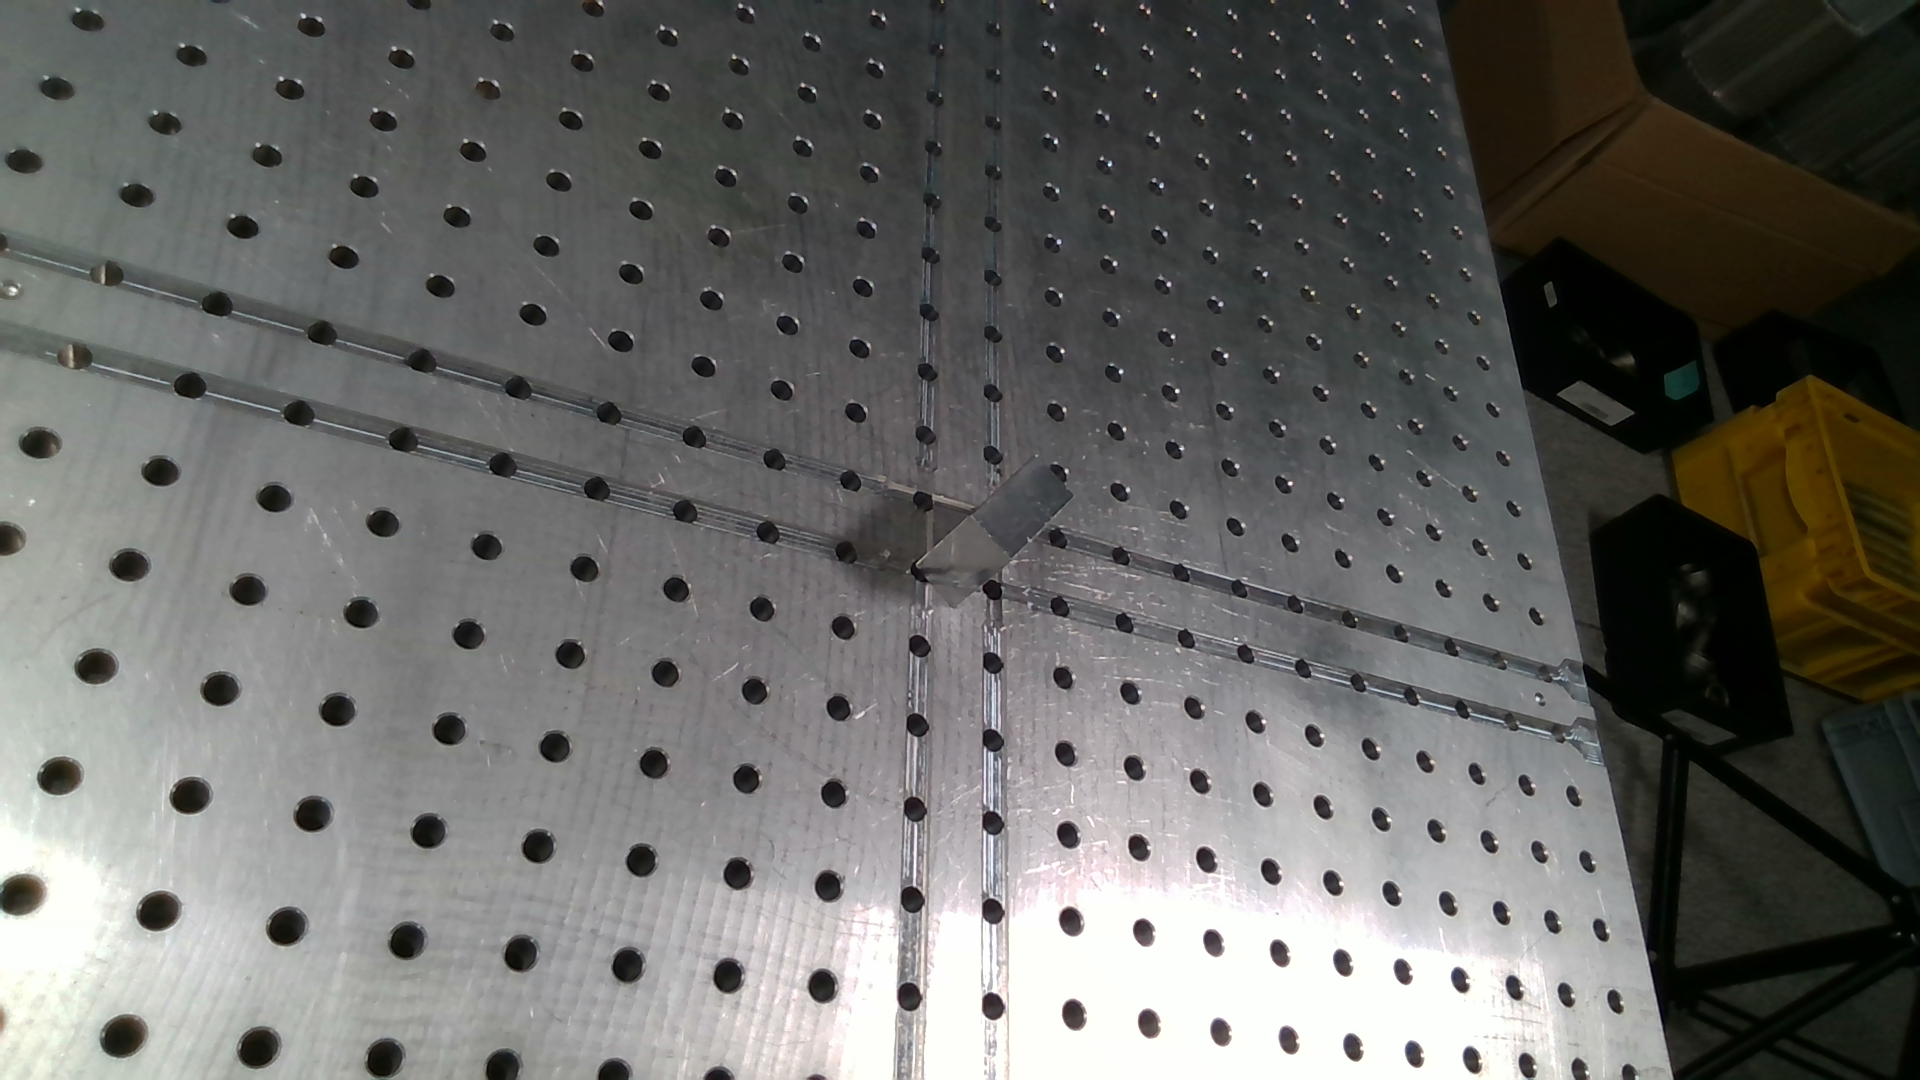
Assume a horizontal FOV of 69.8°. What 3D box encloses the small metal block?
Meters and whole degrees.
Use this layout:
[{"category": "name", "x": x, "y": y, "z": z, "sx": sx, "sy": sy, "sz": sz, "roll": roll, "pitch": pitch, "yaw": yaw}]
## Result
[{"category": "small metal block", "x": 0.015, "y": -0.004, "z": 0.584, "sx": 0.025, "sy": 0.050, "sz": 0.050, "roll": 47, "pitch": 51, "yaw": -1}]
